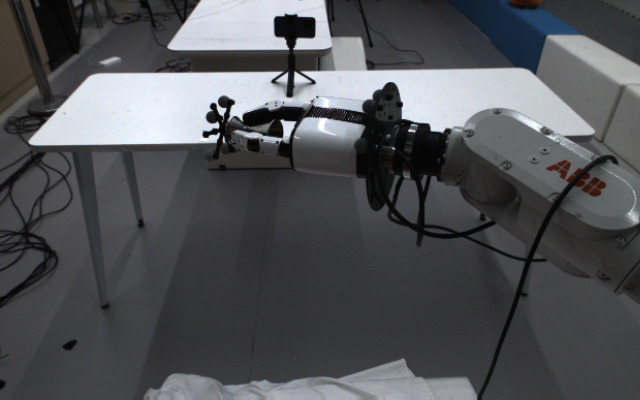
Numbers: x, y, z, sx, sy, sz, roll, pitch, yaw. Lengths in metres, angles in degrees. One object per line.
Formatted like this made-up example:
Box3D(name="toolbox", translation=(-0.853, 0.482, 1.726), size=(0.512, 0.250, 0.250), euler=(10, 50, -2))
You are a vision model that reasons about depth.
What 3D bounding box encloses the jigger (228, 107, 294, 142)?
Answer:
Box3D(name="jigger", translation=(-0.089, -0.096, 0.667), size=(0.071, 0.043, 0.043), euler=(10, 35, 21))
